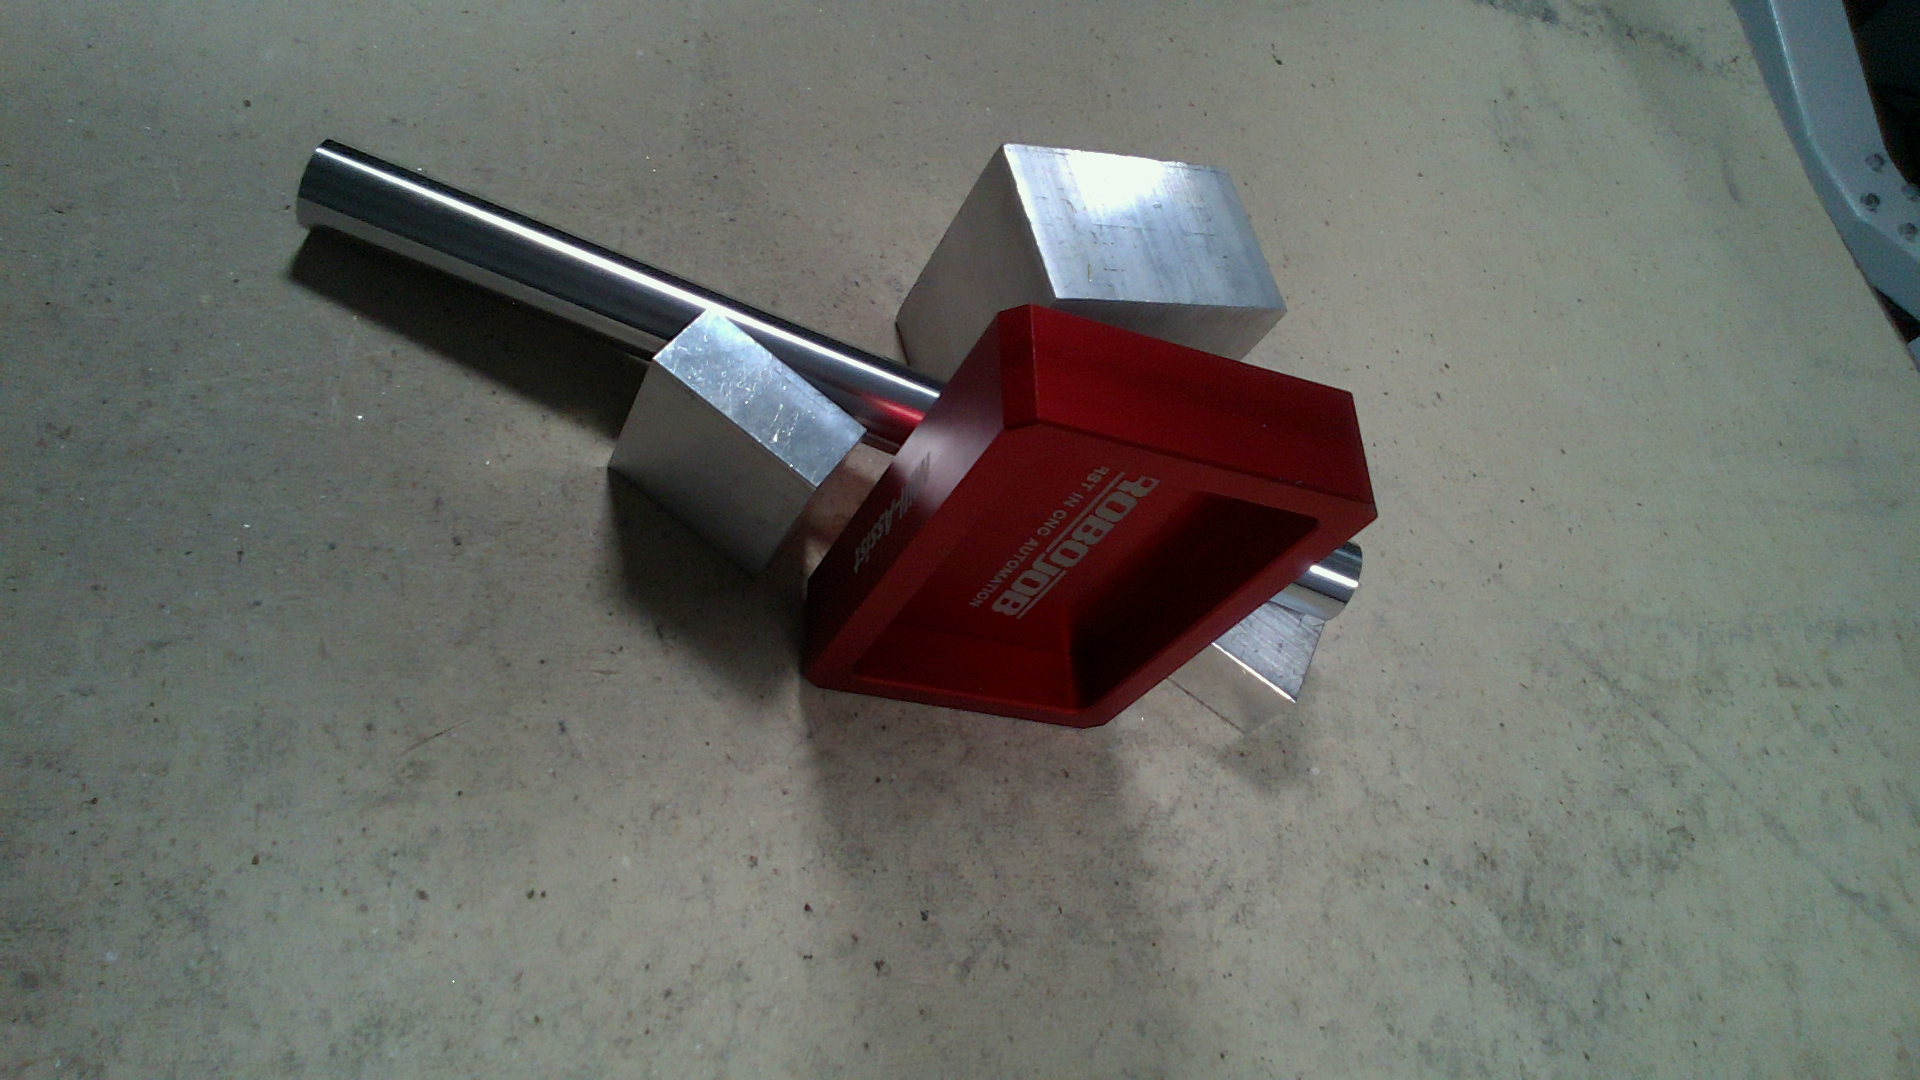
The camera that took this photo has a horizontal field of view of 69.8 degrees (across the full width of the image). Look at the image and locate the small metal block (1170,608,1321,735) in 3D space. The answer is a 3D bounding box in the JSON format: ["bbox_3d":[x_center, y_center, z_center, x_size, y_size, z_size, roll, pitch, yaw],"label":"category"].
[{"bbox_3d":[0.081,0.022,0.421,0.050,0.025,0.050,36,51,-4],"label":"small metal block"}]

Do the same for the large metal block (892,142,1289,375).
[{"bbox_3d":[0.036,-0.068,0.414,0.080,0.080,0.050,-2,63,-29],"label":"large metal block"}]

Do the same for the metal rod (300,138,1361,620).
[{"bbox_3d":[-0.027,-0.040,0.382,0.300,0.025,0.025,21,54,-9],"label":"metal rod"}]

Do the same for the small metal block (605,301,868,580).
[{"bbox_3d":[-0.059,-0.024,0.356,0.050,0.050,0.025,38,51,-2],"label":"small metal block"}]

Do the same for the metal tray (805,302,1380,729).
[{"bbox_3d":[0.025,0.003,0.334,0.090,0.130,0.030,12,57,-22],"label":"metal tray"}]
